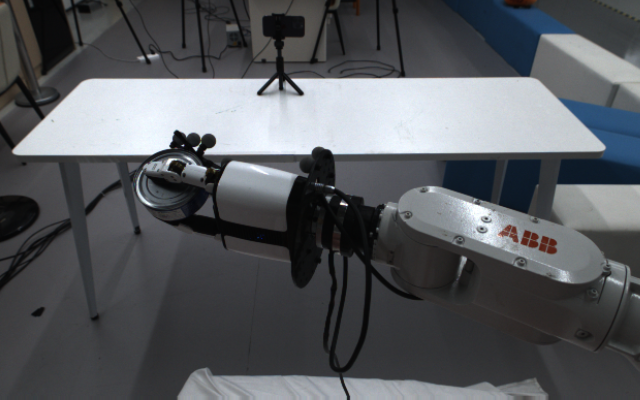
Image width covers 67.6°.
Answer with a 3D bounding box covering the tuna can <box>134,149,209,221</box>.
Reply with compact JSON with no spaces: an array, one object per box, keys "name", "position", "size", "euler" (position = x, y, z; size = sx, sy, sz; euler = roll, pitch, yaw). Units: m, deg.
[{"name":"tuna can","position":[-0.178,-0.018,0.591],"size":[0.085,0.034,0.085],"euler":[-2,59,3]}]
